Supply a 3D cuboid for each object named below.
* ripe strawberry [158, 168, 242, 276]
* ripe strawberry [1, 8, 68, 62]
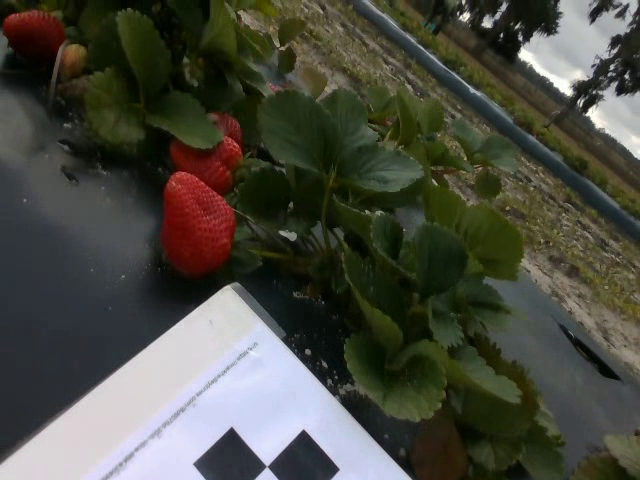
[{"bbox_3d":[-0.076,-0.014,0.353,0.057,0.056,0.065,0,-31,12],"label":"ripe strawberry"},{"bbox_3d":[-0.203,-0.148,0.428,0.043,0.041,0.051,25,13,11],"label":"ripe strawberry"}]
